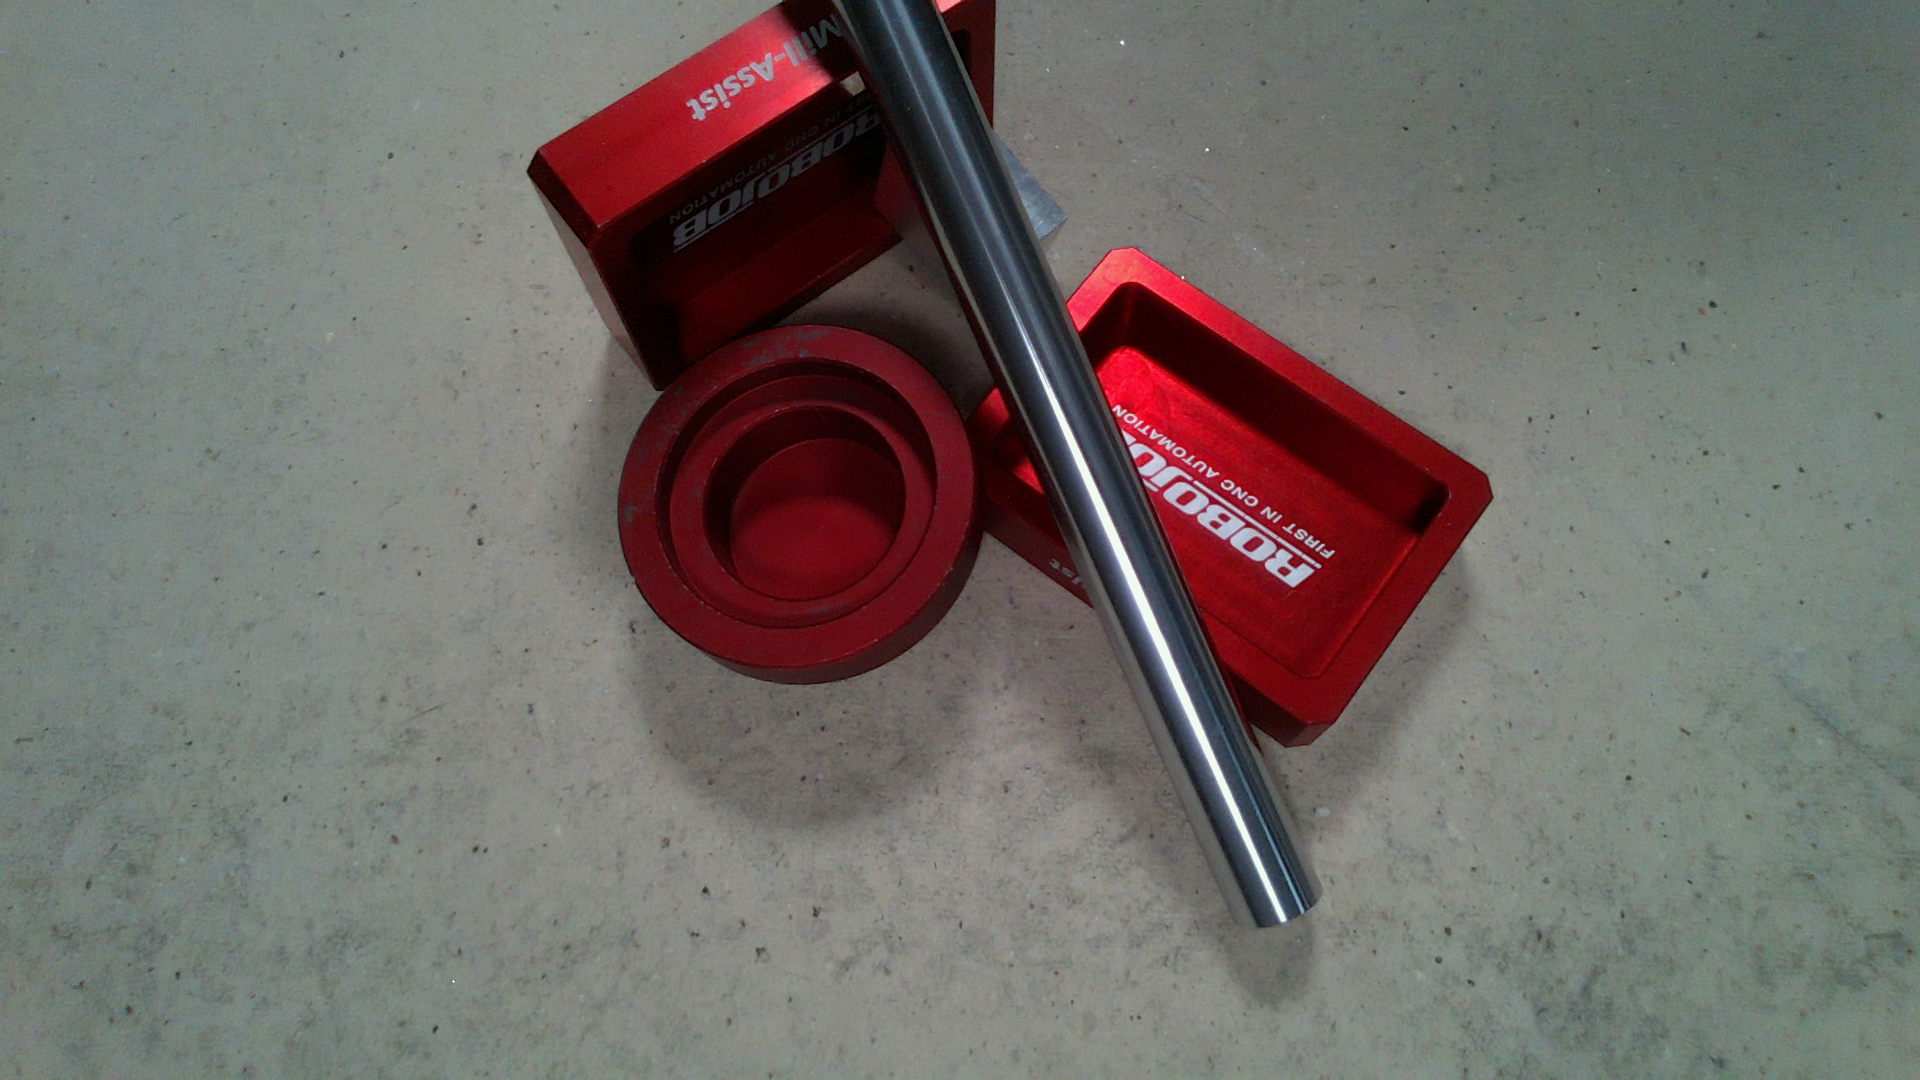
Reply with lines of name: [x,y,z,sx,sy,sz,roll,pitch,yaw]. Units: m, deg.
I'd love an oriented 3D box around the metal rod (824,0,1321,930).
metal rod: [0.022,-0.041,0.353,0.025,0.025,0.300,-25,94,-9]

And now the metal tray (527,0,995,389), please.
metal tray: [-0.050,-0.107,0.399,0.130,0.090,0.030,-36,74,-12]

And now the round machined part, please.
round machined part: [-0.042,-0.007,0.384,0.098,0.042,0.098,-2,73,6]

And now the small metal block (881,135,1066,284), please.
small metal block: [0.001,-0.099,0.412,0.025,0.050,0.050,-41,89,-11]

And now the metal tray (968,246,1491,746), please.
metal tray: [0.072,-0.015,0.398,0.130,0.030,0.090,36,74,12]
